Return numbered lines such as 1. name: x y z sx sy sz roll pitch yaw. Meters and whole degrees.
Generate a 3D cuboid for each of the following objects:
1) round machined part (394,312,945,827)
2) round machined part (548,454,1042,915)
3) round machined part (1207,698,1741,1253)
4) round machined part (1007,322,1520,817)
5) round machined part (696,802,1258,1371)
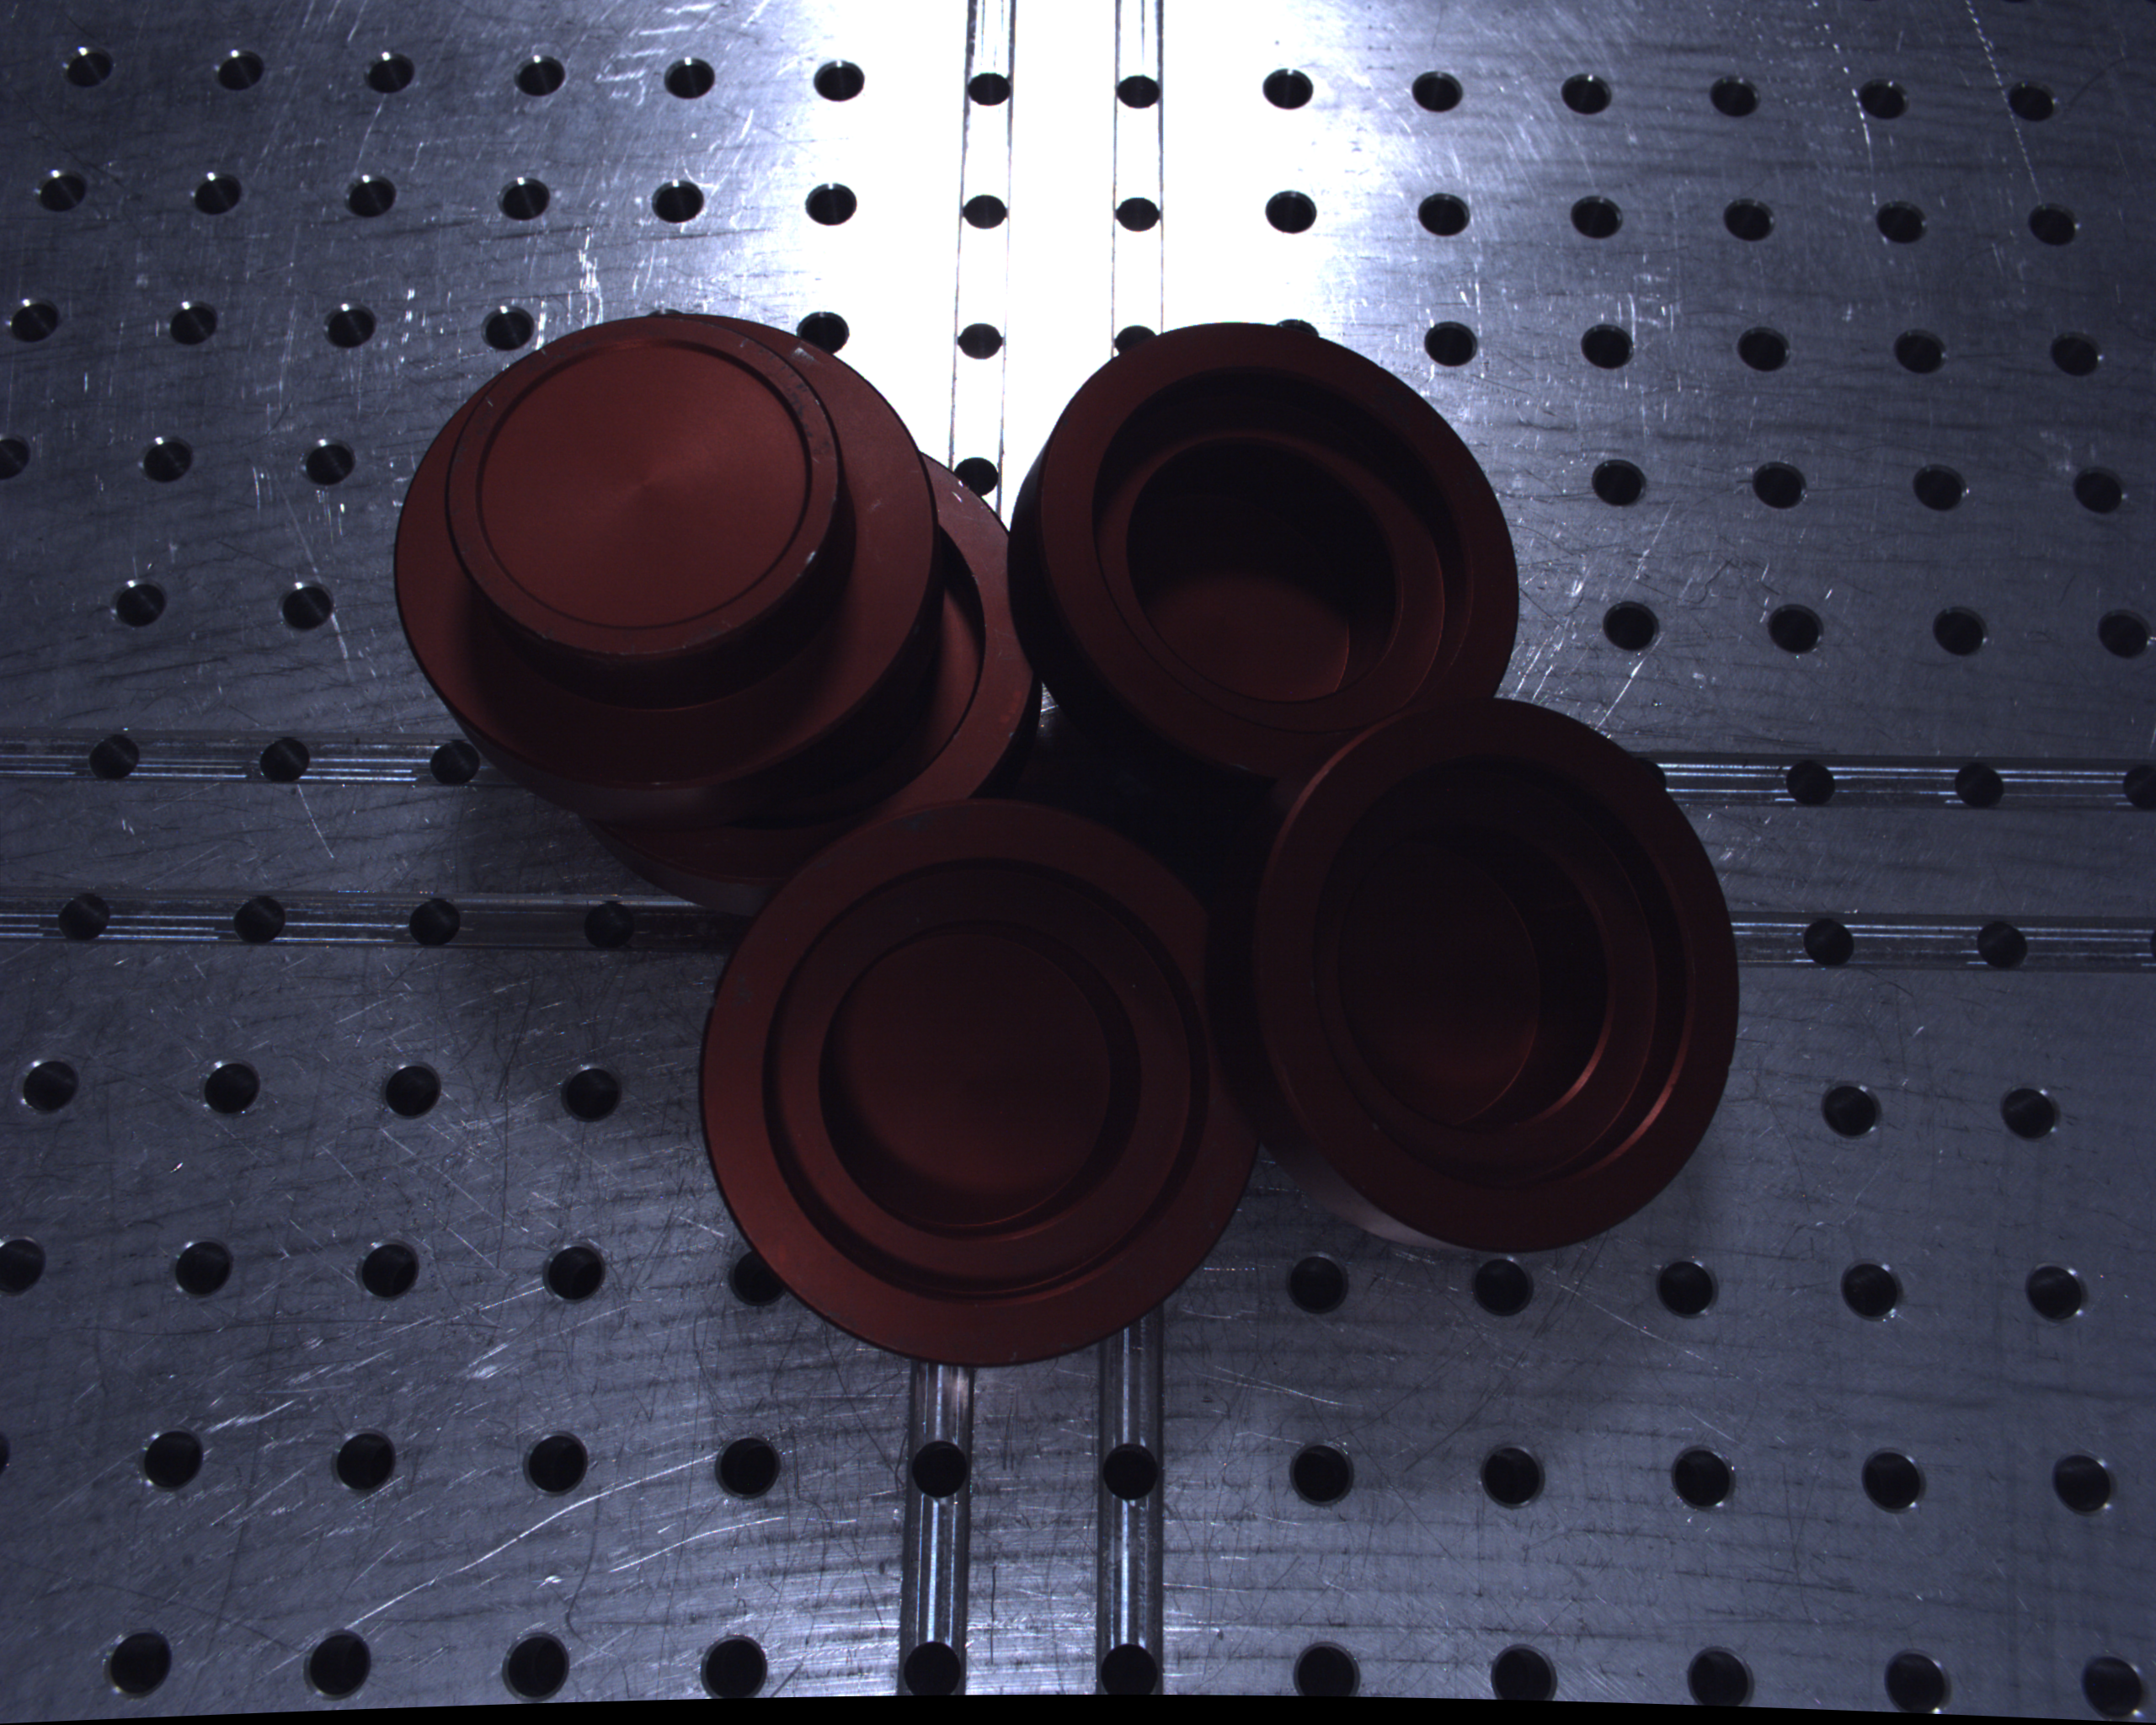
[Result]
1. round machined part: -0.075 -0.059 0.378 0.099 0.042 0.098 0 70 -1
2. round machined part: -0.056 -0.035 0.414 0.099 0.042 0.098 0 70 -1
3. round machined part: 0.068 0.022 0.383 0.099 0.042 0.097 3 80 -21
4. round machined part: 0.033 -0.054 0.413 0.099 0.042 0.098 6 70 -16
5. round machined part: -0.019 0.040 0.379 0.099 0.042 0.097 1 84 -10
